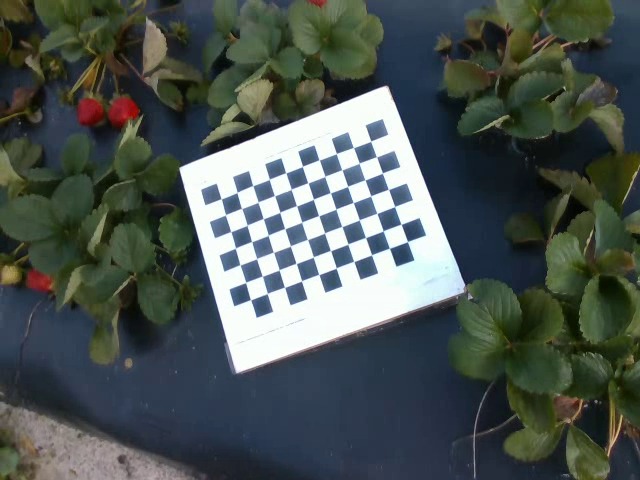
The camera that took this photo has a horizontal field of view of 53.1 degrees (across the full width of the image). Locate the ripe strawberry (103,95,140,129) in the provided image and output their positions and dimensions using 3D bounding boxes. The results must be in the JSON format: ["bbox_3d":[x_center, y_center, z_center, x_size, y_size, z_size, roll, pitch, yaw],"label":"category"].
[{"bbox_3d":[-0.317,-0.201,1.010,0.051,0.057,0.064,51,0,-38],"label":"ripe strawberry"}]

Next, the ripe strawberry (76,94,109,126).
[{"bbox_3d":[-0.377,-0.201,1.031,0.048,0.056,0.041,-6,-39,12],"label":"ripe strawberry"}]
